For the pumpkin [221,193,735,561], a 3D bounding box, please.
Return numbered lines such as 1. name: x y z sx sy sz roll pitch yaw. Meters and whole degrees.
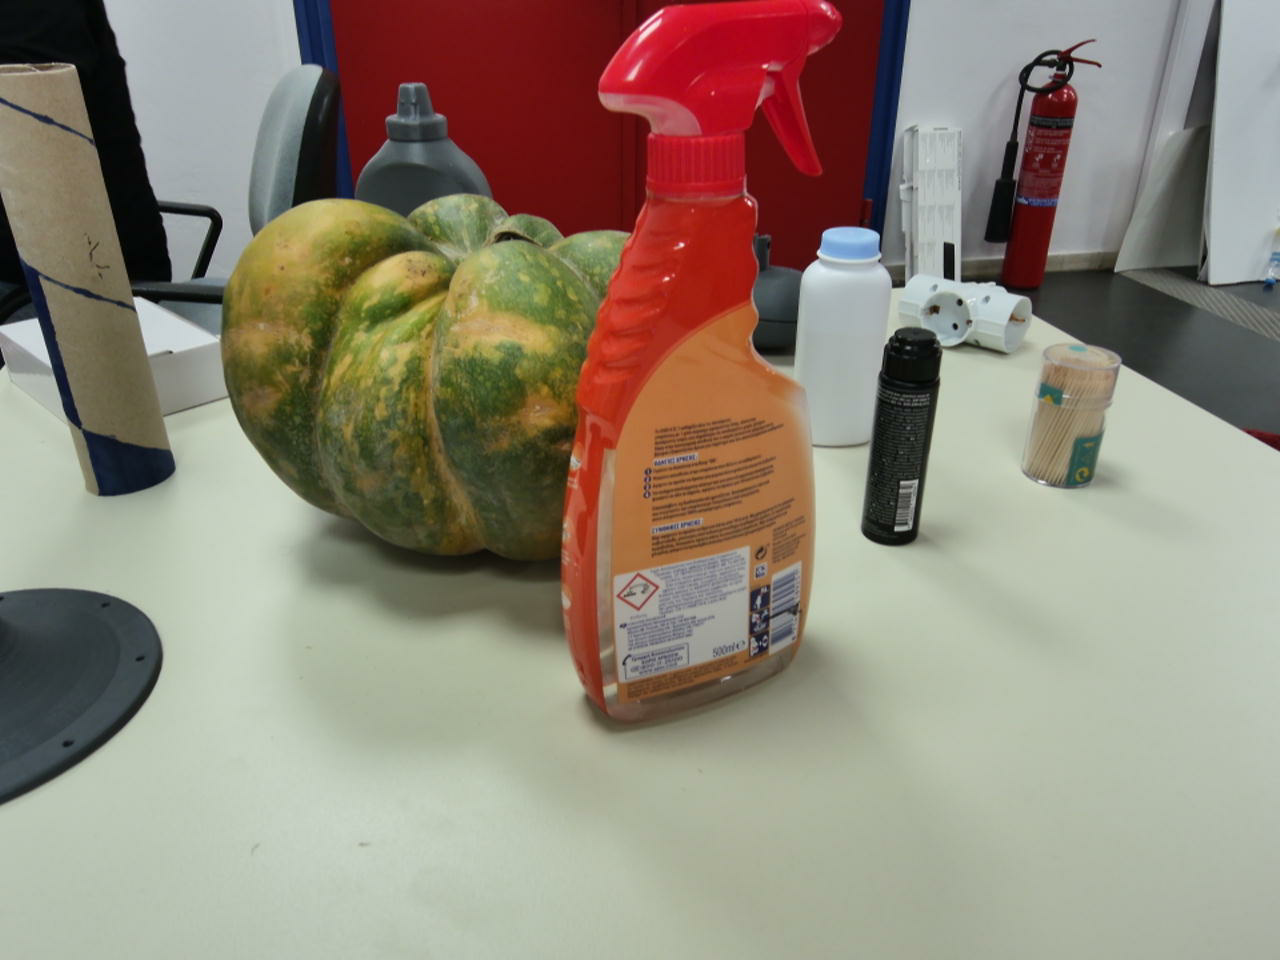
1. pumpkin: -0.079 -0.063 0.524 0.270 0.173 0.237 11 28 22
